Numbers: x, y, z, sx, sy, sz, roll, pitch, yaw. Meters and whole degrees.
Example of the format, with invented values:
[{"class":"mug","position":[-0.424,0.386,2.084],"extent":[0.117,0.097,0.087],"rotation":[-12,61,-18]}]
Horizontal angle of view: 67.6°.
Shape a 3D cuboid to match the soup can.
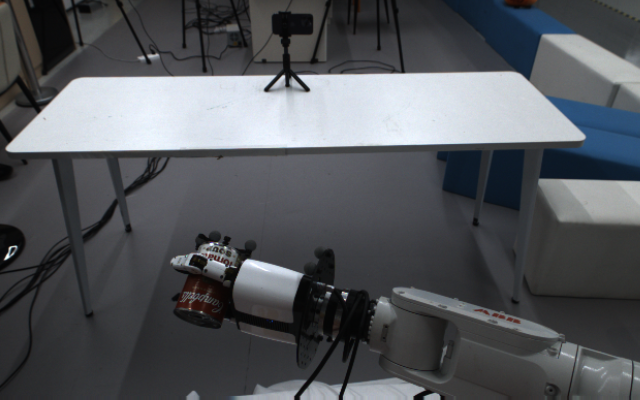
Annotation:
[{"class":"soup can","position":[-0.152,0.118,0.667],"extent":[0.067,0.067,0.101],"rotation":[9,58,10]}]
